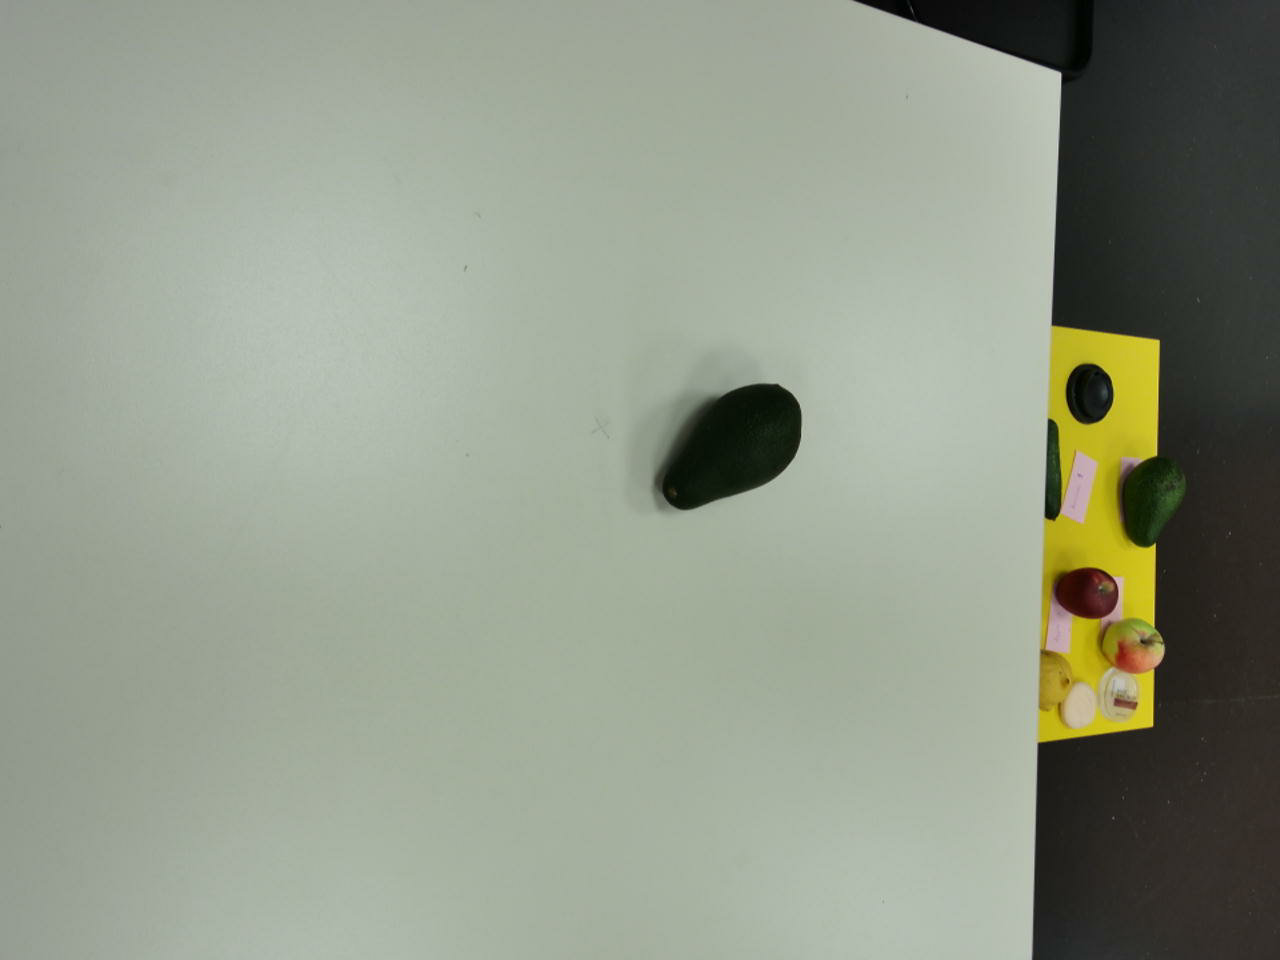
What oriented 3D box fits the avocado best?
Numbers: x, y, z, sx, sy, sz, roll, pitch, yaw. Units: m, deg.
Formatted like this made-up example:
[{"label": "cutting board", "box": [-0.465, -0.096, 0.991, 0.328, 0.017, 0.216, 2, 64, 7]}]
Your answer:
[{"label": "avocado", "box": [0.065, -0.026, 0.707, 0.109, 0.071, 0.072, -21, 100, -26]}]
